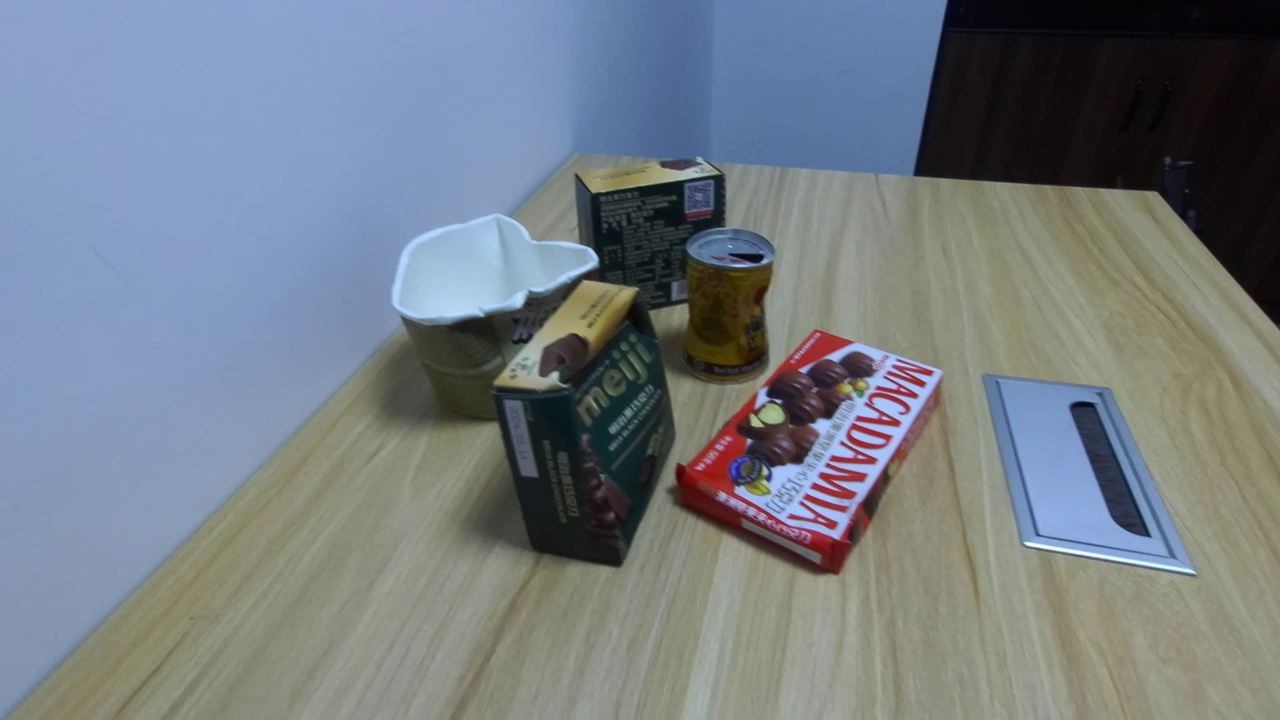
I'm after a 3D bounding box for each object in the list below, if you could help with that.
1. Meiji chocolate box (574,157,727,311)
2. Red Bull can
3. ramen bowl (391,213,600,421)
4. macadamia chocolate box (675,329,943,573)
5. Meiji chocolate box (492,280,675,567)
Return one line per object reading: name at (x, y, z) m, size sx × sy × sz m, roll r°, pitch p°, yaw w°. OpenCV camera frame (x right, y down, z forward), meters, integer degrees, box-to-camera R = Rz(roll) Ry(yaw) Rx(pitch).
Meiji chocolate box at (0.010, -0.101, 0.578) m, size 0.113 × 0.111 × 0.058 m, roll -12°, pitch 34°, yaw -14°
Red Bull can at (0.061, -0.038, 0.495) m, size 0.072 × 0.092 × 0.072 m, roll -1°, pitch 34°, yaw 1°
ramen bowl at (-0.101, -0.027, 0.481) m, size 0.113 × 0.098 × 0.134 m, roll 24°, pitch 41°, yaw 30°
macadamia chocolate box at (0.111, 0.045, 0.435) m, size 0.105 × 0.028 × 0.183 m, roll 22°, pitch 42°, yaw 28°
Meiji chocolate box at (-0.024, 0.029, 0.390) m, size 0.051 × 0.117 × 0.117 m, roll 2°, pitch 33°, yaw 21°
